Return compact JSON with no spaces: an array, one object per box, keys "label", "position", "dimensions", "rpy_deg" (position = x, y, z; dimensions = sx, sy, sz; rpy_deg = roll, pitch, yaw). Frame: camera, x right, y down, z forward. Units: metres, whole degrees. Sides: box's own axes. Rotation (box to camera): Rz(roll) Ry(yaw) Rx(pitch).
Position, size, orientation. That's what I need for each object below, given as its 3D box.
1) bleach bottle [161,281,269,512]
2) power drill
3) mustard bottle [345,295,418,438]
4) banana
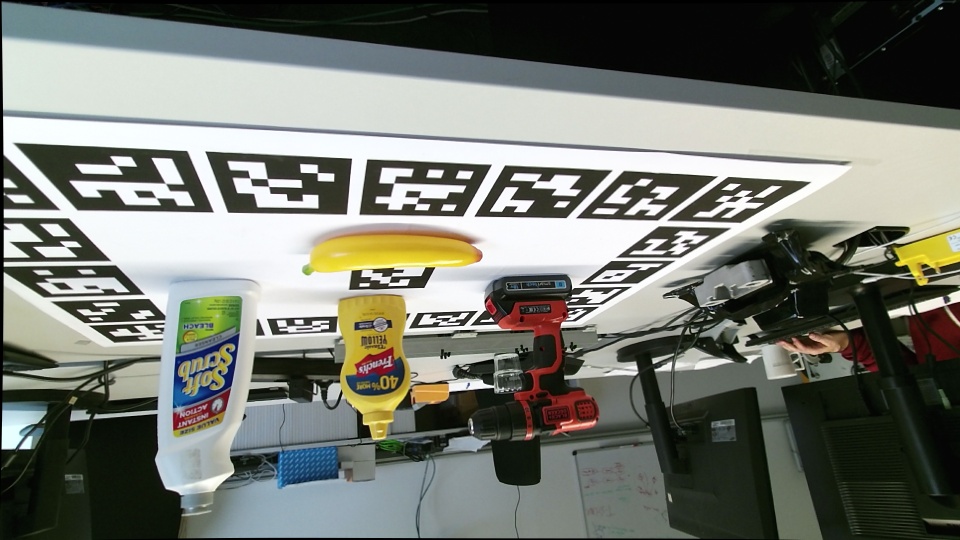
[{"label":"bleach bottle","position":[-0.300,0.139,0.614],"dimensions":[0.103,0.249,0.068],"rpy_deg":[2,156,-23]},{"label":"power drill","position":[0.063,0.137,0.732],"dimensions":[0.185,0.186,0.057],"rpy_deg":[-7,158,-12]},{"label":"mustard bottle","position":[-0.135,0.131,0.734],"dimensions":[0.096,0.190,0.058],"rpy_deg":[-3,158,-7]},{"label":"banana","position":[-0.088,-0.013,0.569],"dimensions":[0.198,0.038,0.074],"rpy_deg":[-6,156,-12]}]
